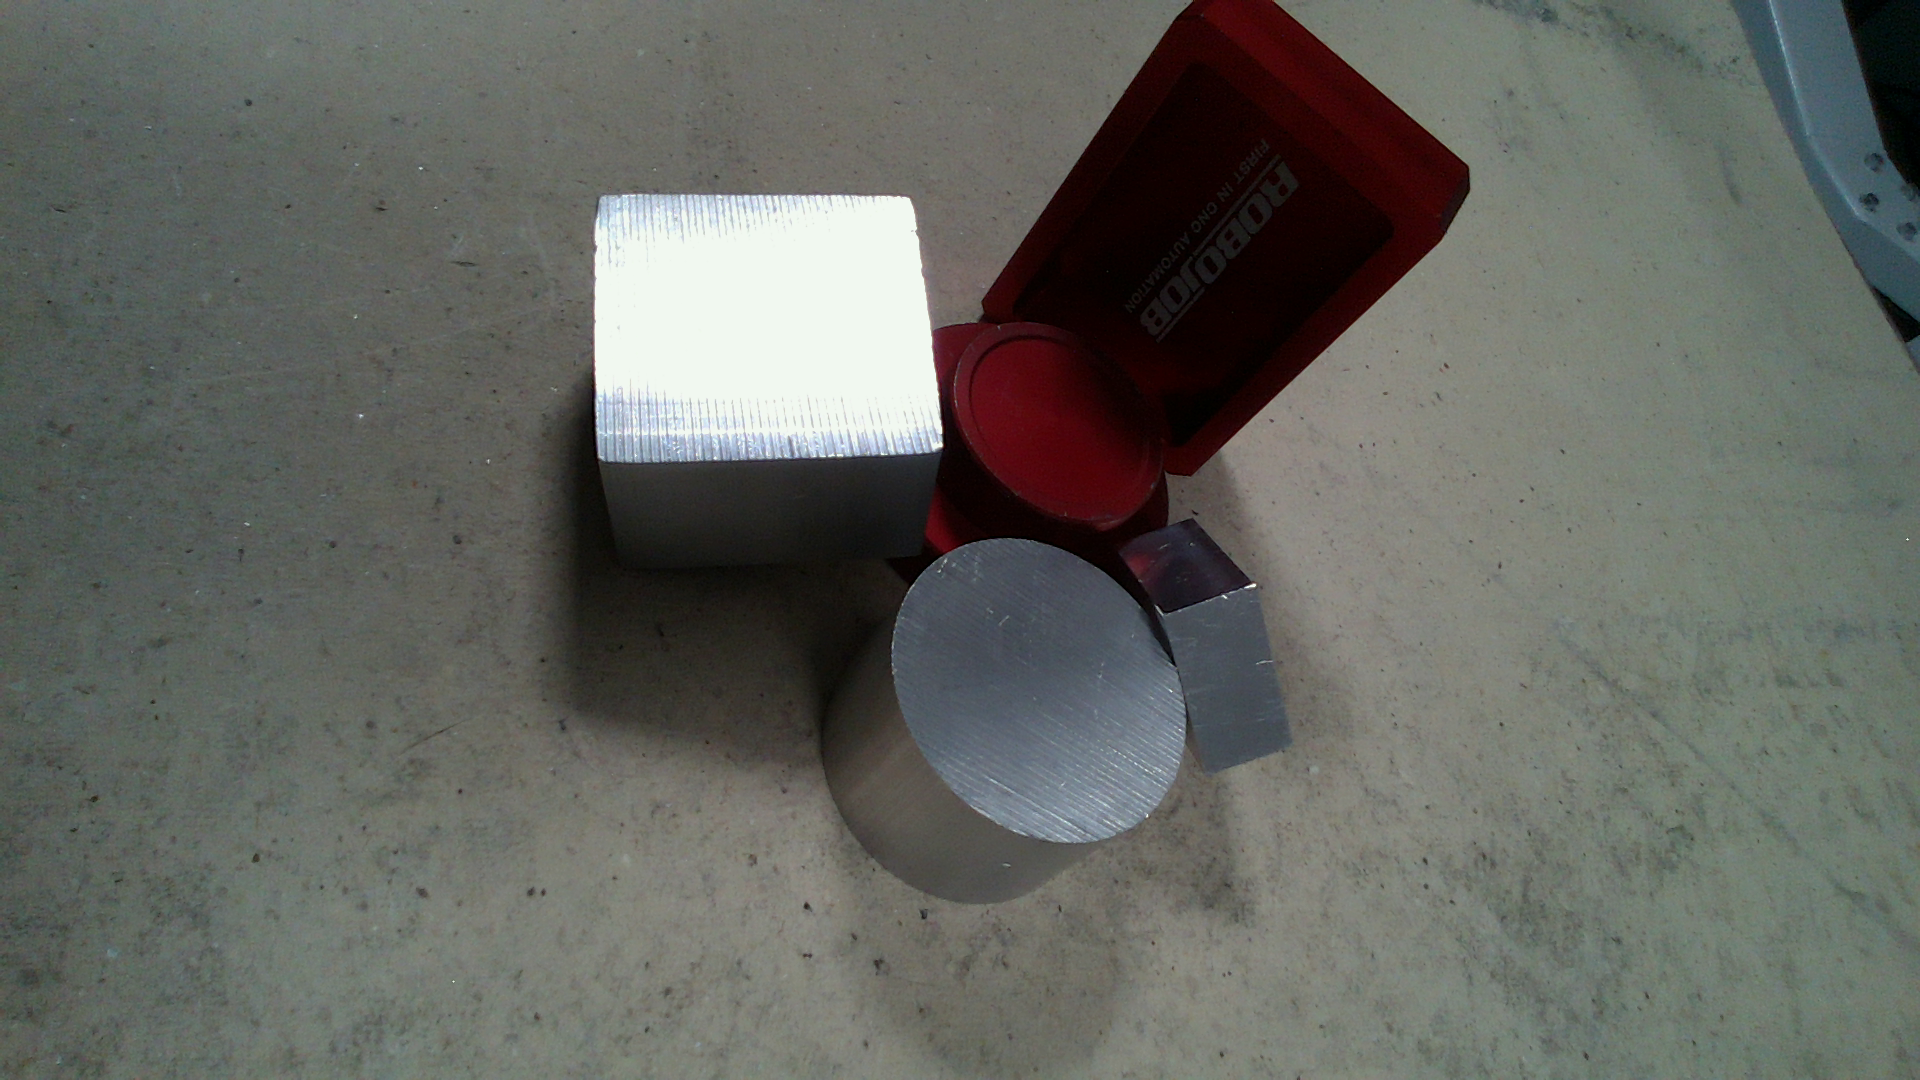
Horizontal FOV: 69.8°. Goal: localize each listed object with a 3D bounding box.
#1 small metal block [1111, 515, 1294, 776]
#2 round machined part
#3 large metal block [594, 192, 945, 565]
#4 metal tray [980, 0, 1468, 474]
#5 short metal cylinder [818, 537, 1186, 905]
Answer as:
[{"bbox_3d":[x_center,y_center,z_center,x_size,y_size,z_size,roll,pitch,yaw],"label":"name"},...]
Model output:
[{"bbox_3d":[0.066,0.028,0.378,0.025,0.050,0.050,-19,113,-3],"label":"small metal block"},{"bbox_3d":[0.020,-0.025,0.406,0.098,0.042,0.098,14,56,-21],"label":"round machined part"},{"bbox_3d":[-0.050,-0.042,0.356,0.080,0.050,0.080,-2,61,-10],"label":"large metal block"},{"bbox_3d":[0.073,-0.087,0.413,0.090,0.130,0.030,39,51,-2],"label":"metal tray"},{"bbox_3d":[0.010,0.046,0.351,0.080,0.050,0.080,14,56,-21],"label":"short metal cylinder"}]
